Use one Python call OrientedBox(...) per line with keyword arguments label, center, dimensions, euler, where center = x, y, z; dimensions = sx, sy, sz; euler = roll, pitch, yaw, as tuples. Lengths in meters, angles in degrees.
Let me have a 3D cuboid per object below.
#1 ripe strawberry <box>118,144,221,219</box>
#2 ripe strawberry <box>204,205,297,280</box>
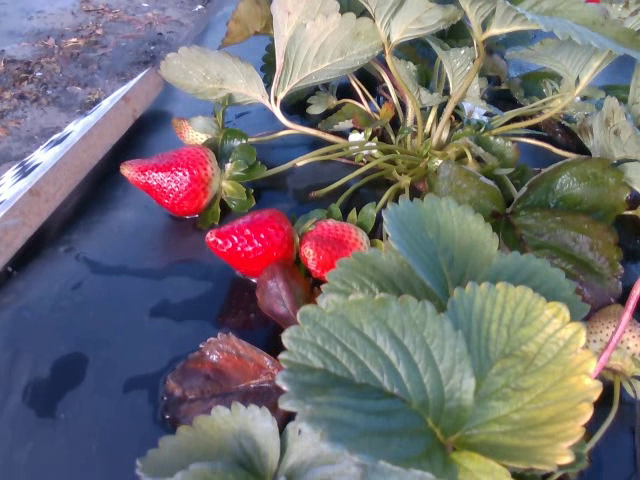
OrientedBox(label="ripe strawberry", center=(-0.092, -0.043, 0.372), dimensions=(0.065, 0.050, 0.050), euler=(13, 7, -24))
OrientedBox(label="ripe strawberry", center=(-0.040, 0.001, 0.320), dimensions=(0.055, 0.042, 0.044), euler=(8, -9, -39))
